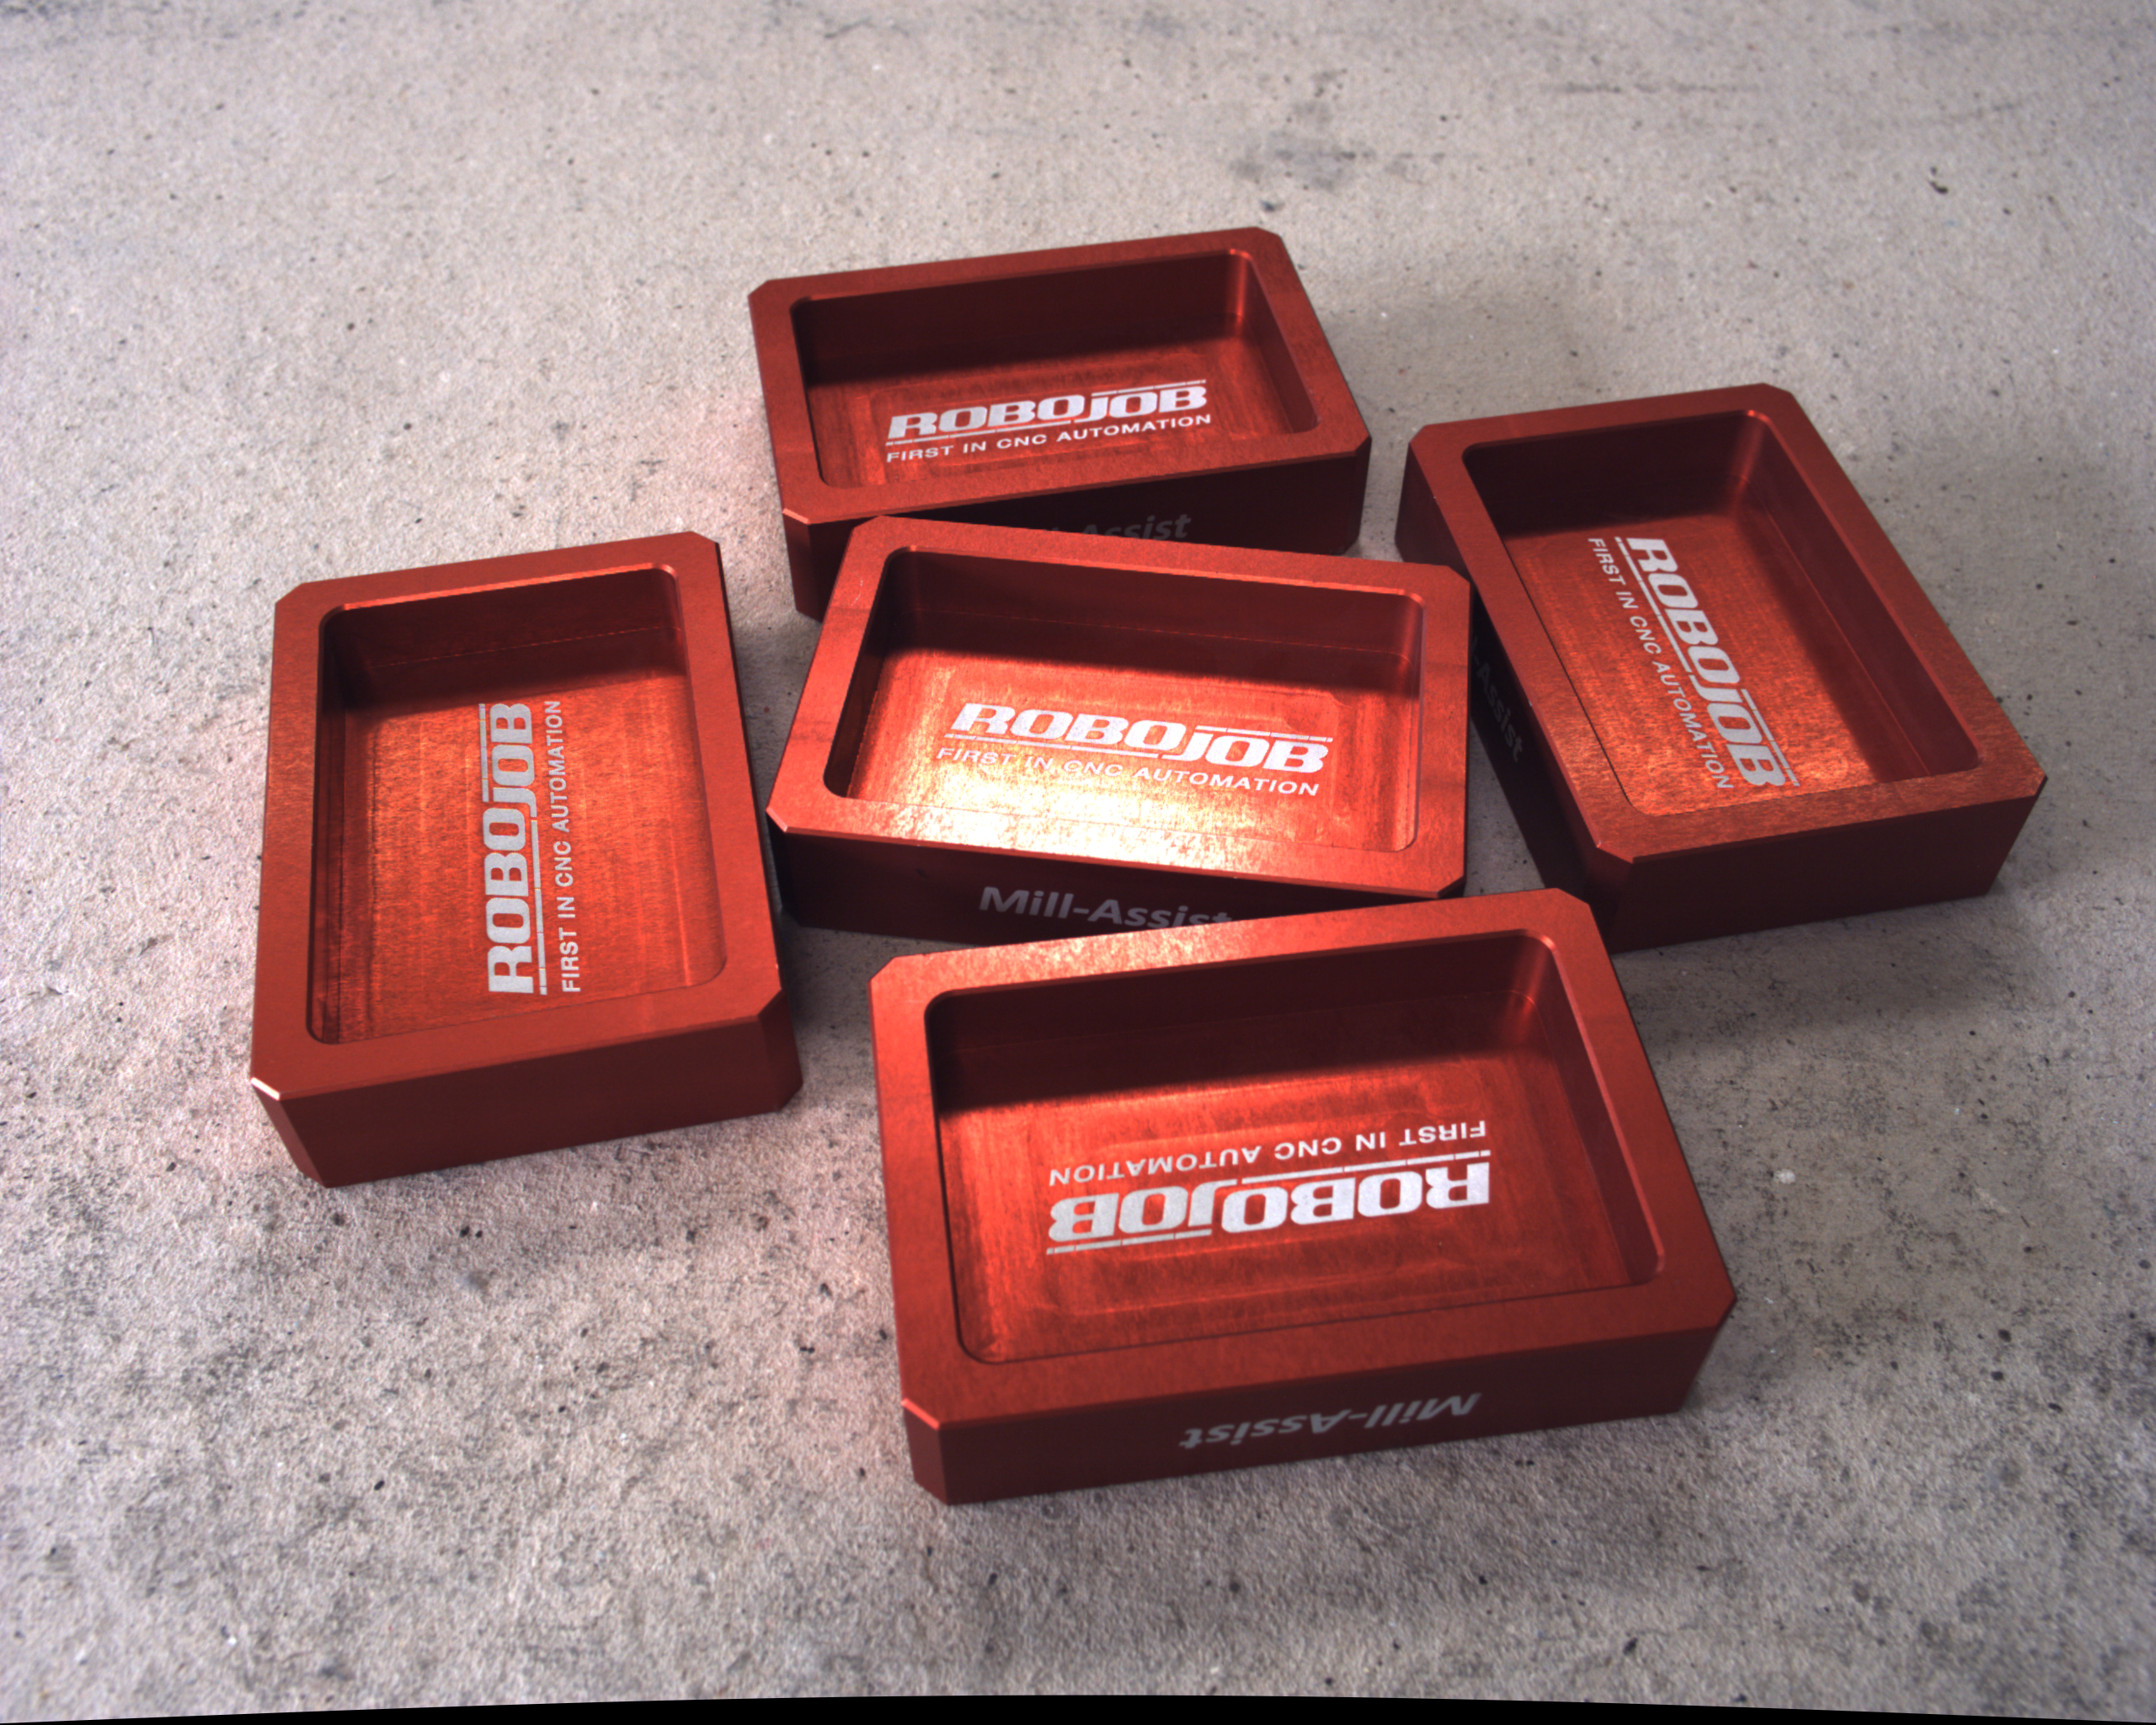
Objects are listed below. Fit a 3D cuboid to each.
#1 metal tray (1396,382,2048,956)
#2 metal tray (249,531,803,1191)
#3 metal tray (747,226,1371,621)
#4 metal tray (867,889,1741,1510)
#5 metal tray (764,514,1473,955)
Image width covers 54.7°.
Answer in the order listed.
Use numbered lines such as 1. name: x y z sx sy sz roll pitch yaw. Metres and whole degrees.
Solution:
1. metal tray: 0.129 -0.045 0.440 0.091 0.030 0.130 -9 51 -6
2. metal tray: -0.107 -0.006 0.405 0.091 0.030 0.130 -9 51 -7
3. metal tray: -0.007 -0.105 0.490 0.131 0.030 0.090 -9 51 -7
4. metal tray: 0.033 0.054 0.355 0.131 0.030 0.090 -6 50 -5
5. metal tray: 0.011 -0.025 0.422 0.131 0.030 0.090 6 52 5
